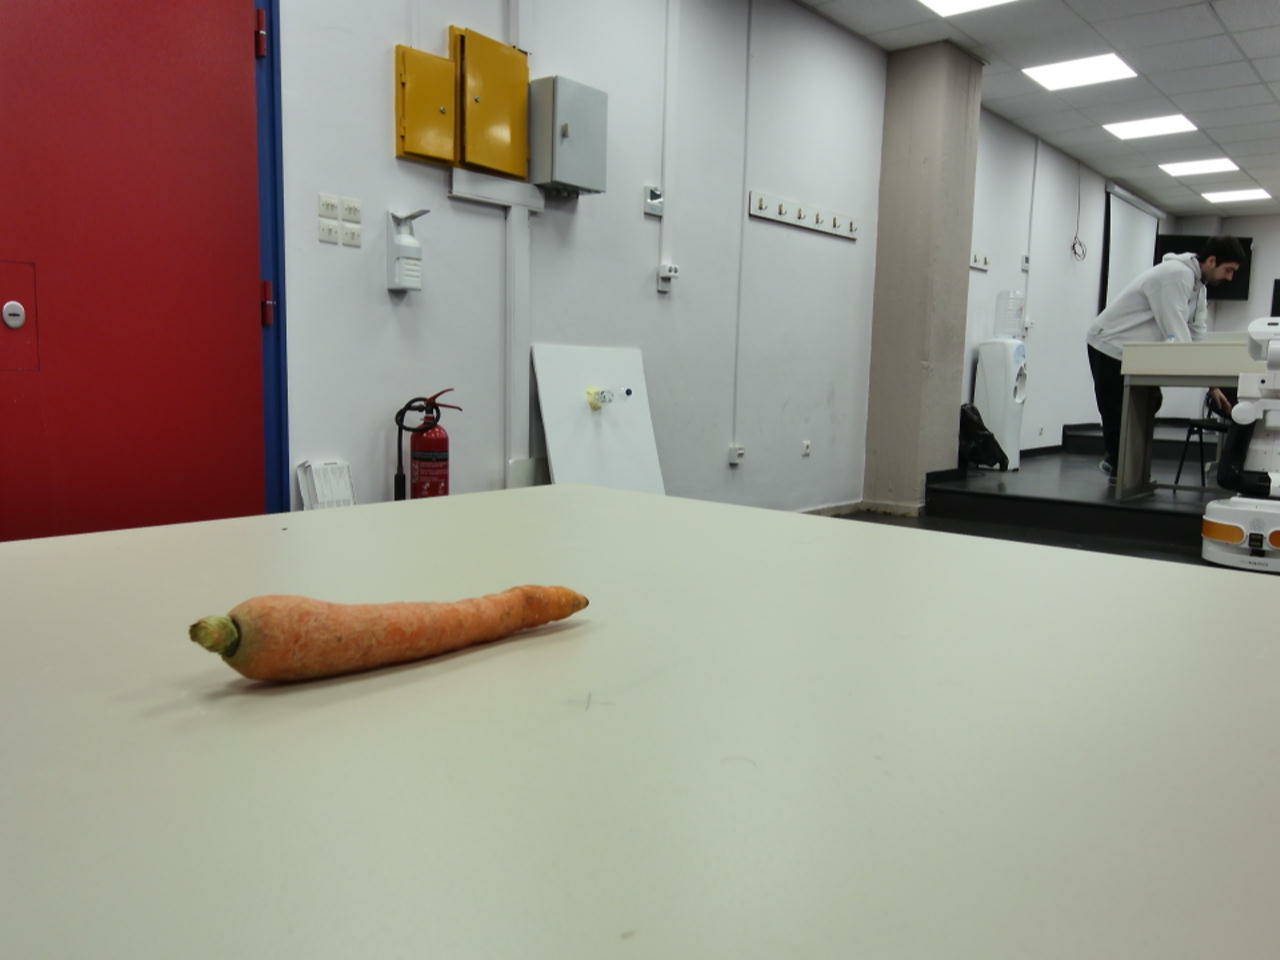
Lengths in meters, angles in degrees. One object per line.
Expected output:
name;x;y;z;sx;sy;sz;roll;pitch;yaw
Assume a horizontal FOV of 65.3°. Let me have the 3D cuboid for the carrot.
carrot;-0.086;0.054;0.393;0.173;0.032;0.030;-4;5;-41
